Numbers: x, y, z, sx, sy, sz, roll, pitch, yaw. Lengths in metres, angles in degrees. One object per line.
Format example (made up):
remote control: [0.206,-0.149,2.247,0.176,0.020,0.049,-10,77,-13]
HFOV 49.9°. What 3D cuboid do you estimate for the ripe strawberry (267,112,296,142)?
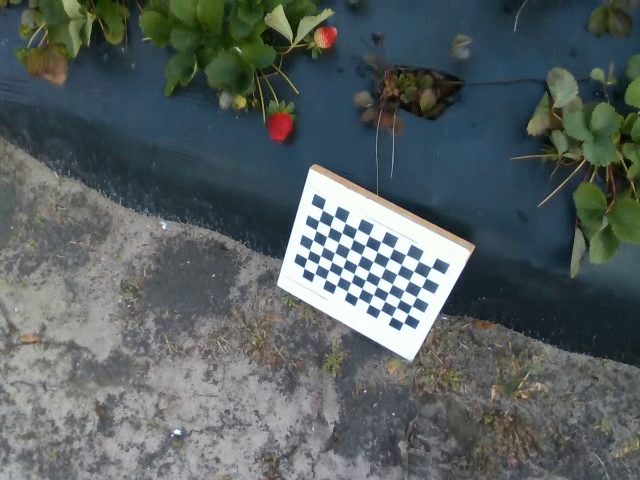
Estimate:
ripe strawberry: [-0.064,-0.173,1.074,0.045,0.055,0.042,-17,-43,41]
